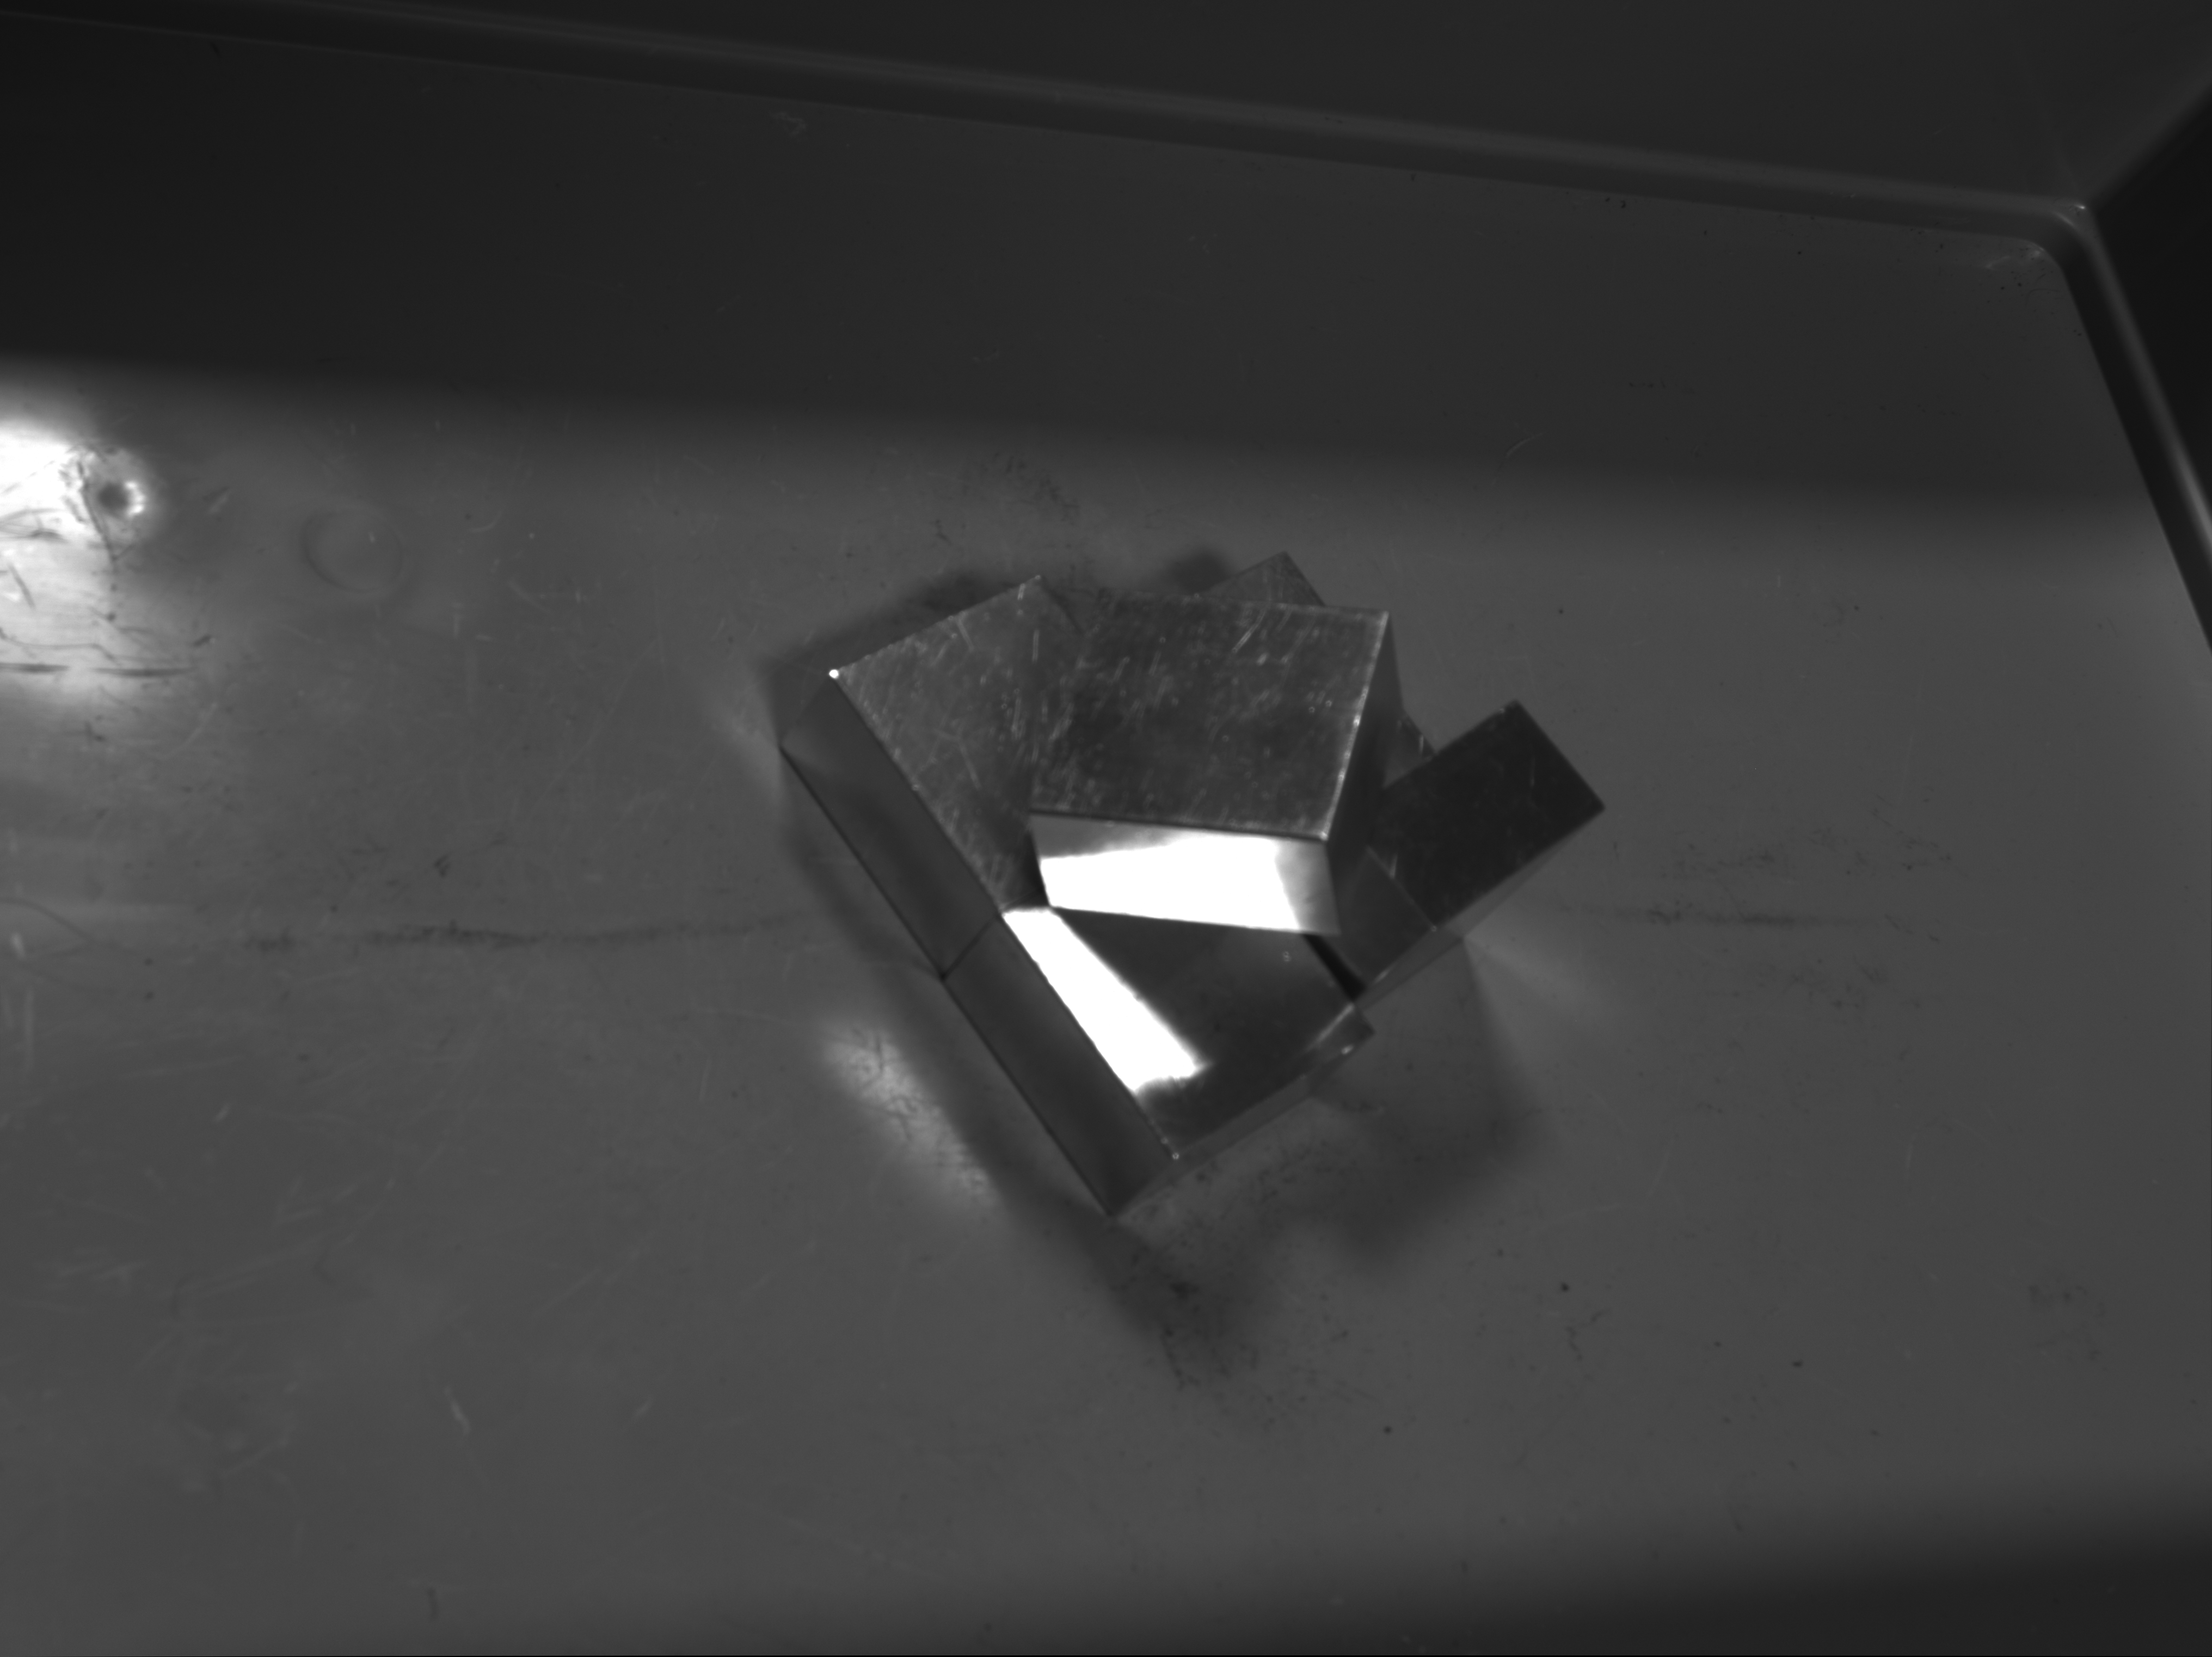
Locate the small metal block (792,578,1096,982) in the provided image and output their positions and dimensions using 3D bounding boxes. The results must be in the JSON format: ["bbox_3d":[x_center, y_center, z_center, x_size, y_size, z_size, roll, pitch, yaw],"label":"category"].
[{"bbox_3d":[-0.017,-0.009,0.635,0.050,0.025,0.050,-28,77,-37],"label":"small metal block"}]

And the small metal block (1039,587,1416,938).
[{"bbox_3d":[0.021,-0.012,0.609,0.050,0.025,0.050,6,51,16],"label":"small metal block"}]

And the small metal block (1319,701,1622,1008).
[{"bbox_3d":[0.055,0.009,0.646,0.050,0.050,0.025,-32,79,-39],"label":"small metal block"}]

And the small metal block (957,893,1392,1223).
[{"bbox_3d":[0.012,0.031,0.626,0.050,0.025,0.050,-28,77,-37],"label":"small metal block"}]

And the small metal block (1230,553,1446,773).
[{"bbox_3d":[0.027,-0.015,0.663,0.050,0.025,0.050,-28,77,-37],"label":"small metal block"}]
